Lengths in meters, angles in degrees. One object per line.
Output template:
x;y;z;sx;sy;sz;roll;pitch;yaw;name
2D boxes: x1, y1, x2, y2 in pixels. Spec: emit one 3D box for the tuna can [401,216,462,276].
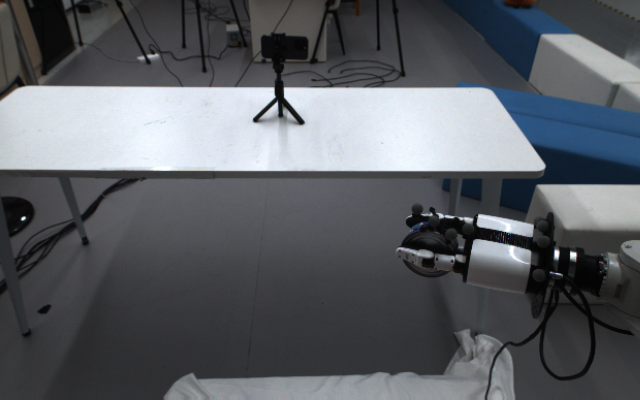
0.175;0.074;0.759;0.085;0.085;0.034;16;28;19;tuna can
